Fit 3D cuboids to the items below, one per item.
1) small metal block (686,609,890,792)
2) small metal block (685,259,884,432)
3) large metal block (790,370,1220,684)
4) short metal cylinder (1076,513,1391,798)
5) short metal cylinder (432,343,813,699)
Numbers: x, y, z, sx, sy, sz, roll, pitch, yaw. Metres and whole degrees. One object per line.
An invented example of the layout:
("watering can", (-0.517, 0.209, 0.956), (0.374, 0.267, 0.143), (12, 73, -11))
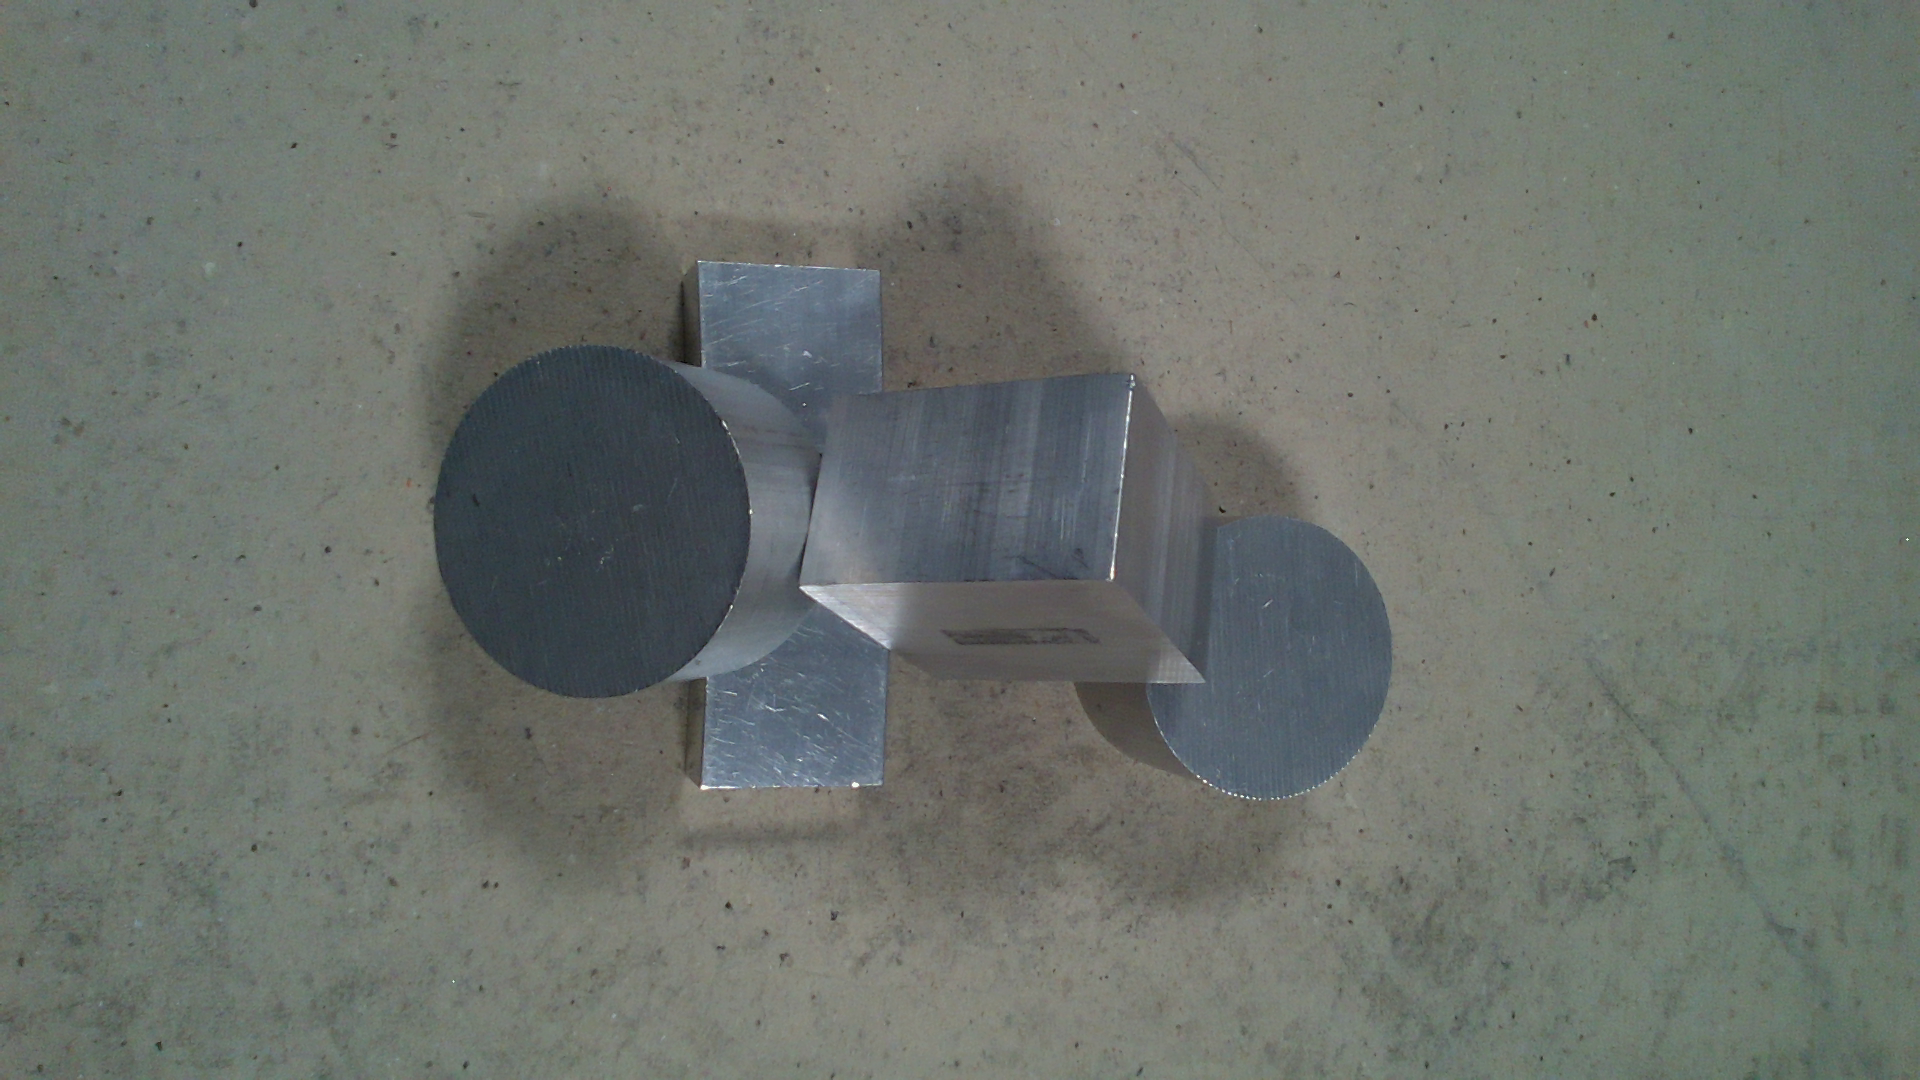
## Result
("small metal block", (-0.047, 0.041, 0.376), (0.050, 0.025, 0.050), (3, 89, -20))
("small metal block", (-0.048, -0.048, 0.376), (0.050, 0.025, 0.050), (-1, 91, -20))
("large metal block", (0.015, 0.001, 0.350), (0.080, 0.080, 0.050), (42, 51, -57))
("short metal cylinder", (0.079, 0.032, 0.409), (0.080, 0.050, 0.080), (0, 90, -20))
("short metal cylinder", (-0.077, -0.005, 0.333), (0.080, 0.050, 0.080), (0, 91, 16))
